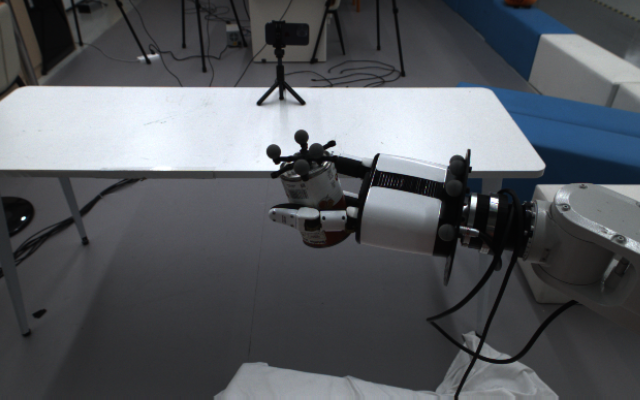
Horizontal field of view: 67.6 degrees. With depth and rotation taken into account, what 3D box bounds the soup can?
[{"bbox_3d":[-0.002,-0.002,0.589,0.067,0.101,0.067,-13,31,8],"label":"soup can"}]
